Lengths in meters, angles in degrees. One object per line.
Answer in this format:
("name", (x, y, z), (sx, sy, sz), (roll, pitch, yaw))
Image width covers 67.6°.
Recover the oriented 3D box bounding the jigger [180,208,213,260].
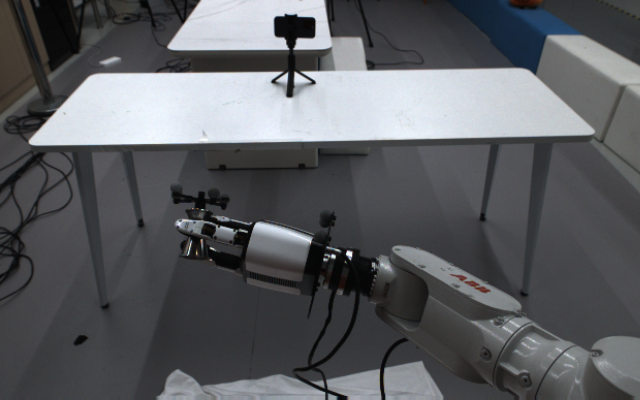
("jigger", (-0.177, 0.049, 0.693), (0.043, 0.043, 0.071), (3, 77, 1))
